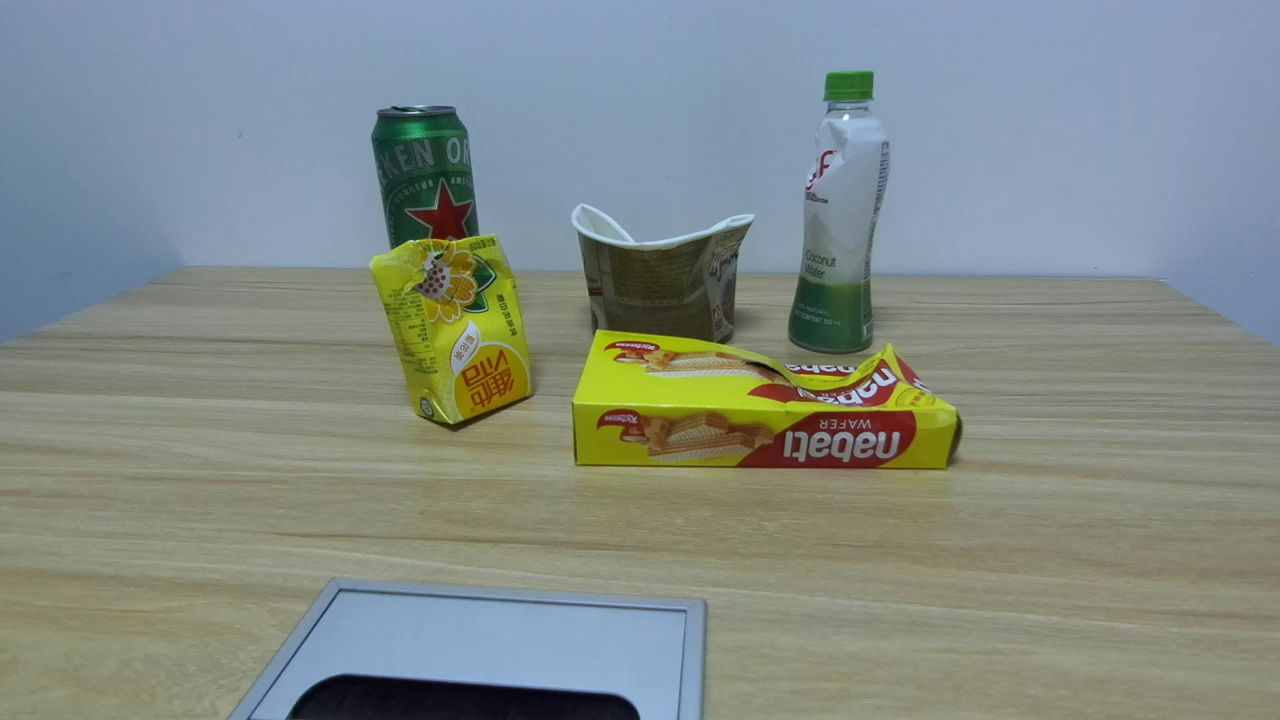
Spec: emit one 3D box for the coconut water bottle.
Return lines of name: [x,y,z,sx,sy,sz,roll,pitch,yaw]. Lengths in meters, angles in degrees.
coconut water bottle: [0.141,-0.102,0.498,0.069,0.186,0.069,-1,21,1]

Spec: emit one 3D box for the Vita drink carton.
Vita drink carton: [-0.114,-0.022,0.438,0.042,0.108,0.087,4,18,44]

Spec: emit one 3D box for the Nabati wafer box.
Nabati wafer box: [0.069,0.020,0.413,0.204,0.042,0.107,2,26,3]

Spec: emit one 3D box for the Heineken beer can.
Heineken beer can: [-0.154,-0.099,0.528,0.067,0.169,0.067,-2,23,1]

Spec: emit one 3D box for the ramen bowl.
ramen bowl: [0.010,-0.063,0.531,0.137,0.098,0.137,-2,23,1]
